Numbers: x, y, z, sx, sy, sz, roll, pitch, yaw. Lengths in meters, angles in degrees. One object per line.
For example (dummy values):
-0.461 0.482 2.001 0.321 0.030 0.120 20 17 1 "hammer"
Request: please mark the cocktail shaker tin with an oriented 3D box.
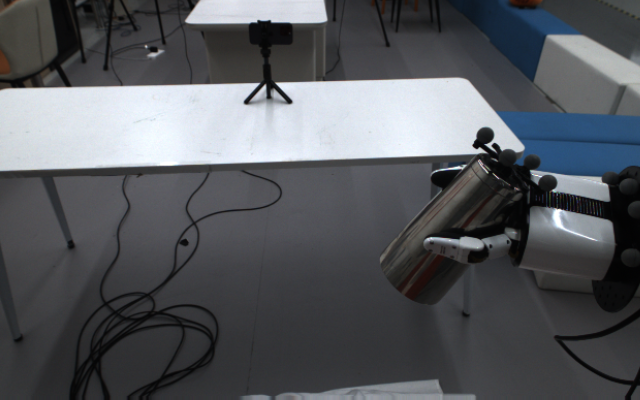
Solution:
0.155 0.027 0.560 0.093 0.170 0.093 26 32 -18 "cocktail shaker tin"
